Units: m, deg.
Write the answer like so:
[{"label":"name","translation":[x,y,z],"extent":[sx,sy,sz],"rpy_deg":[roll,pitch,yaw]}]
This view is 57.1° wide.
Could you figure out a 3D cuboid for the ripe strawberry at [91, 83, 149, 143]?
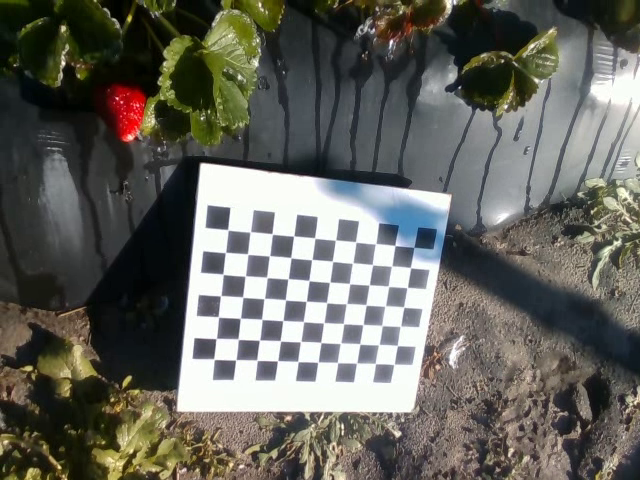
[{"label":"ripe strawberry","translation":[-0.147,-0.095,0.436],"extent":[0.041,0.053,0.047],"rpy_deg":[-2,-25,-15]}]
